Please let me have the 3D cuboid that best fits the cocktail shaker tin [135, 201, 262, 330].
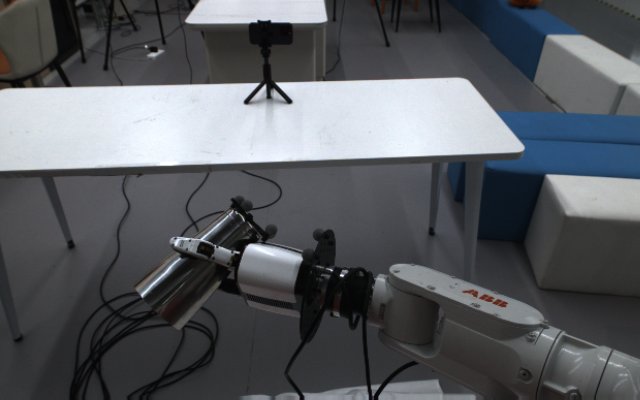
[{"bbox_3d":[-0.171,0.088,0.700,0.170,0.093,0.093,-43,50,-14],"label":"cocktail shaker tin"}]
